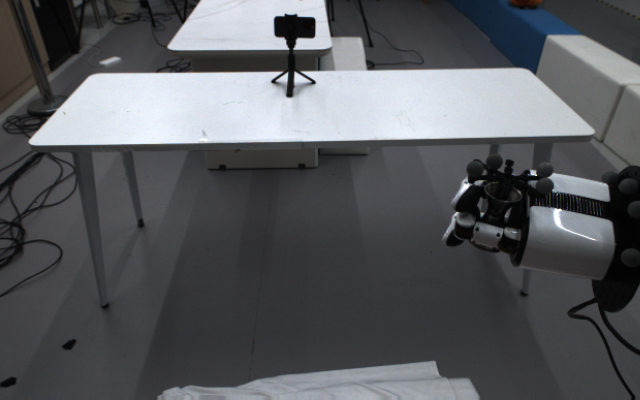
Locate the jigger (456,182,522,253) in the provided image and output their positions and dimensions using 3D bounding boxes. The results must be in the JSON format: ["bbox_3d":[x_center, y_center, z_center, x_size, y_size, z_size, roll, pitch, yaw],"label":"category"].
[{"bbox_3d":[0.201,0.018,0.553,0.043,0.071,0.043,4,31,-2],"label":"jigger"}]
